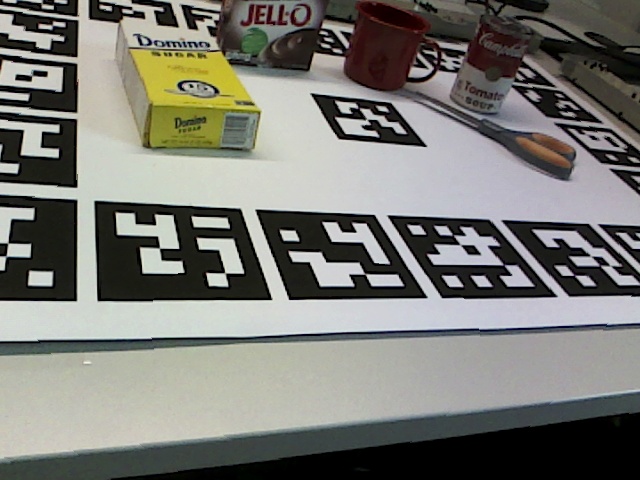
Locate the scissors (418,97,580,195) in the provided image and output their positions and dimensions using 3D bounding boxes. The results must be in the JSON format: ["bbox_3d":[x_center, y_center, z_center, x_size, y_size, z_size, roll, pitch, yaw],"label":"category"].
[{"bbox_3d":[0.203,-0.120,0.711,0.203,0.016,0.087,32,49,15],"label":"scissors"}]

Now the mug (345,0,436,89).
[{"bbox_3d":[0.087,-0.234,0.754,0.118,0.081,0.093,34,42,21],"label":"mug"}]

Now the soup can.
[{"bbox_3d":[0.206,-0.208,0.767,0.068,0.102,0.068,11,37,-8],"label":"soup can"}]

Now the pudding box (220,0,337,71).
[{"bbox_3d":[-0.048,-0.240,0.694,0.113,0.090,0.039,-6,50,-29],"label":"pudding box"}]

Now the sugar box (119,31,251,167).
[{"bbox_3d":[-0.131,-0.136,0.577,0.092,0.045,0.177,-3,44,-23],"label":"sugar box"}]
